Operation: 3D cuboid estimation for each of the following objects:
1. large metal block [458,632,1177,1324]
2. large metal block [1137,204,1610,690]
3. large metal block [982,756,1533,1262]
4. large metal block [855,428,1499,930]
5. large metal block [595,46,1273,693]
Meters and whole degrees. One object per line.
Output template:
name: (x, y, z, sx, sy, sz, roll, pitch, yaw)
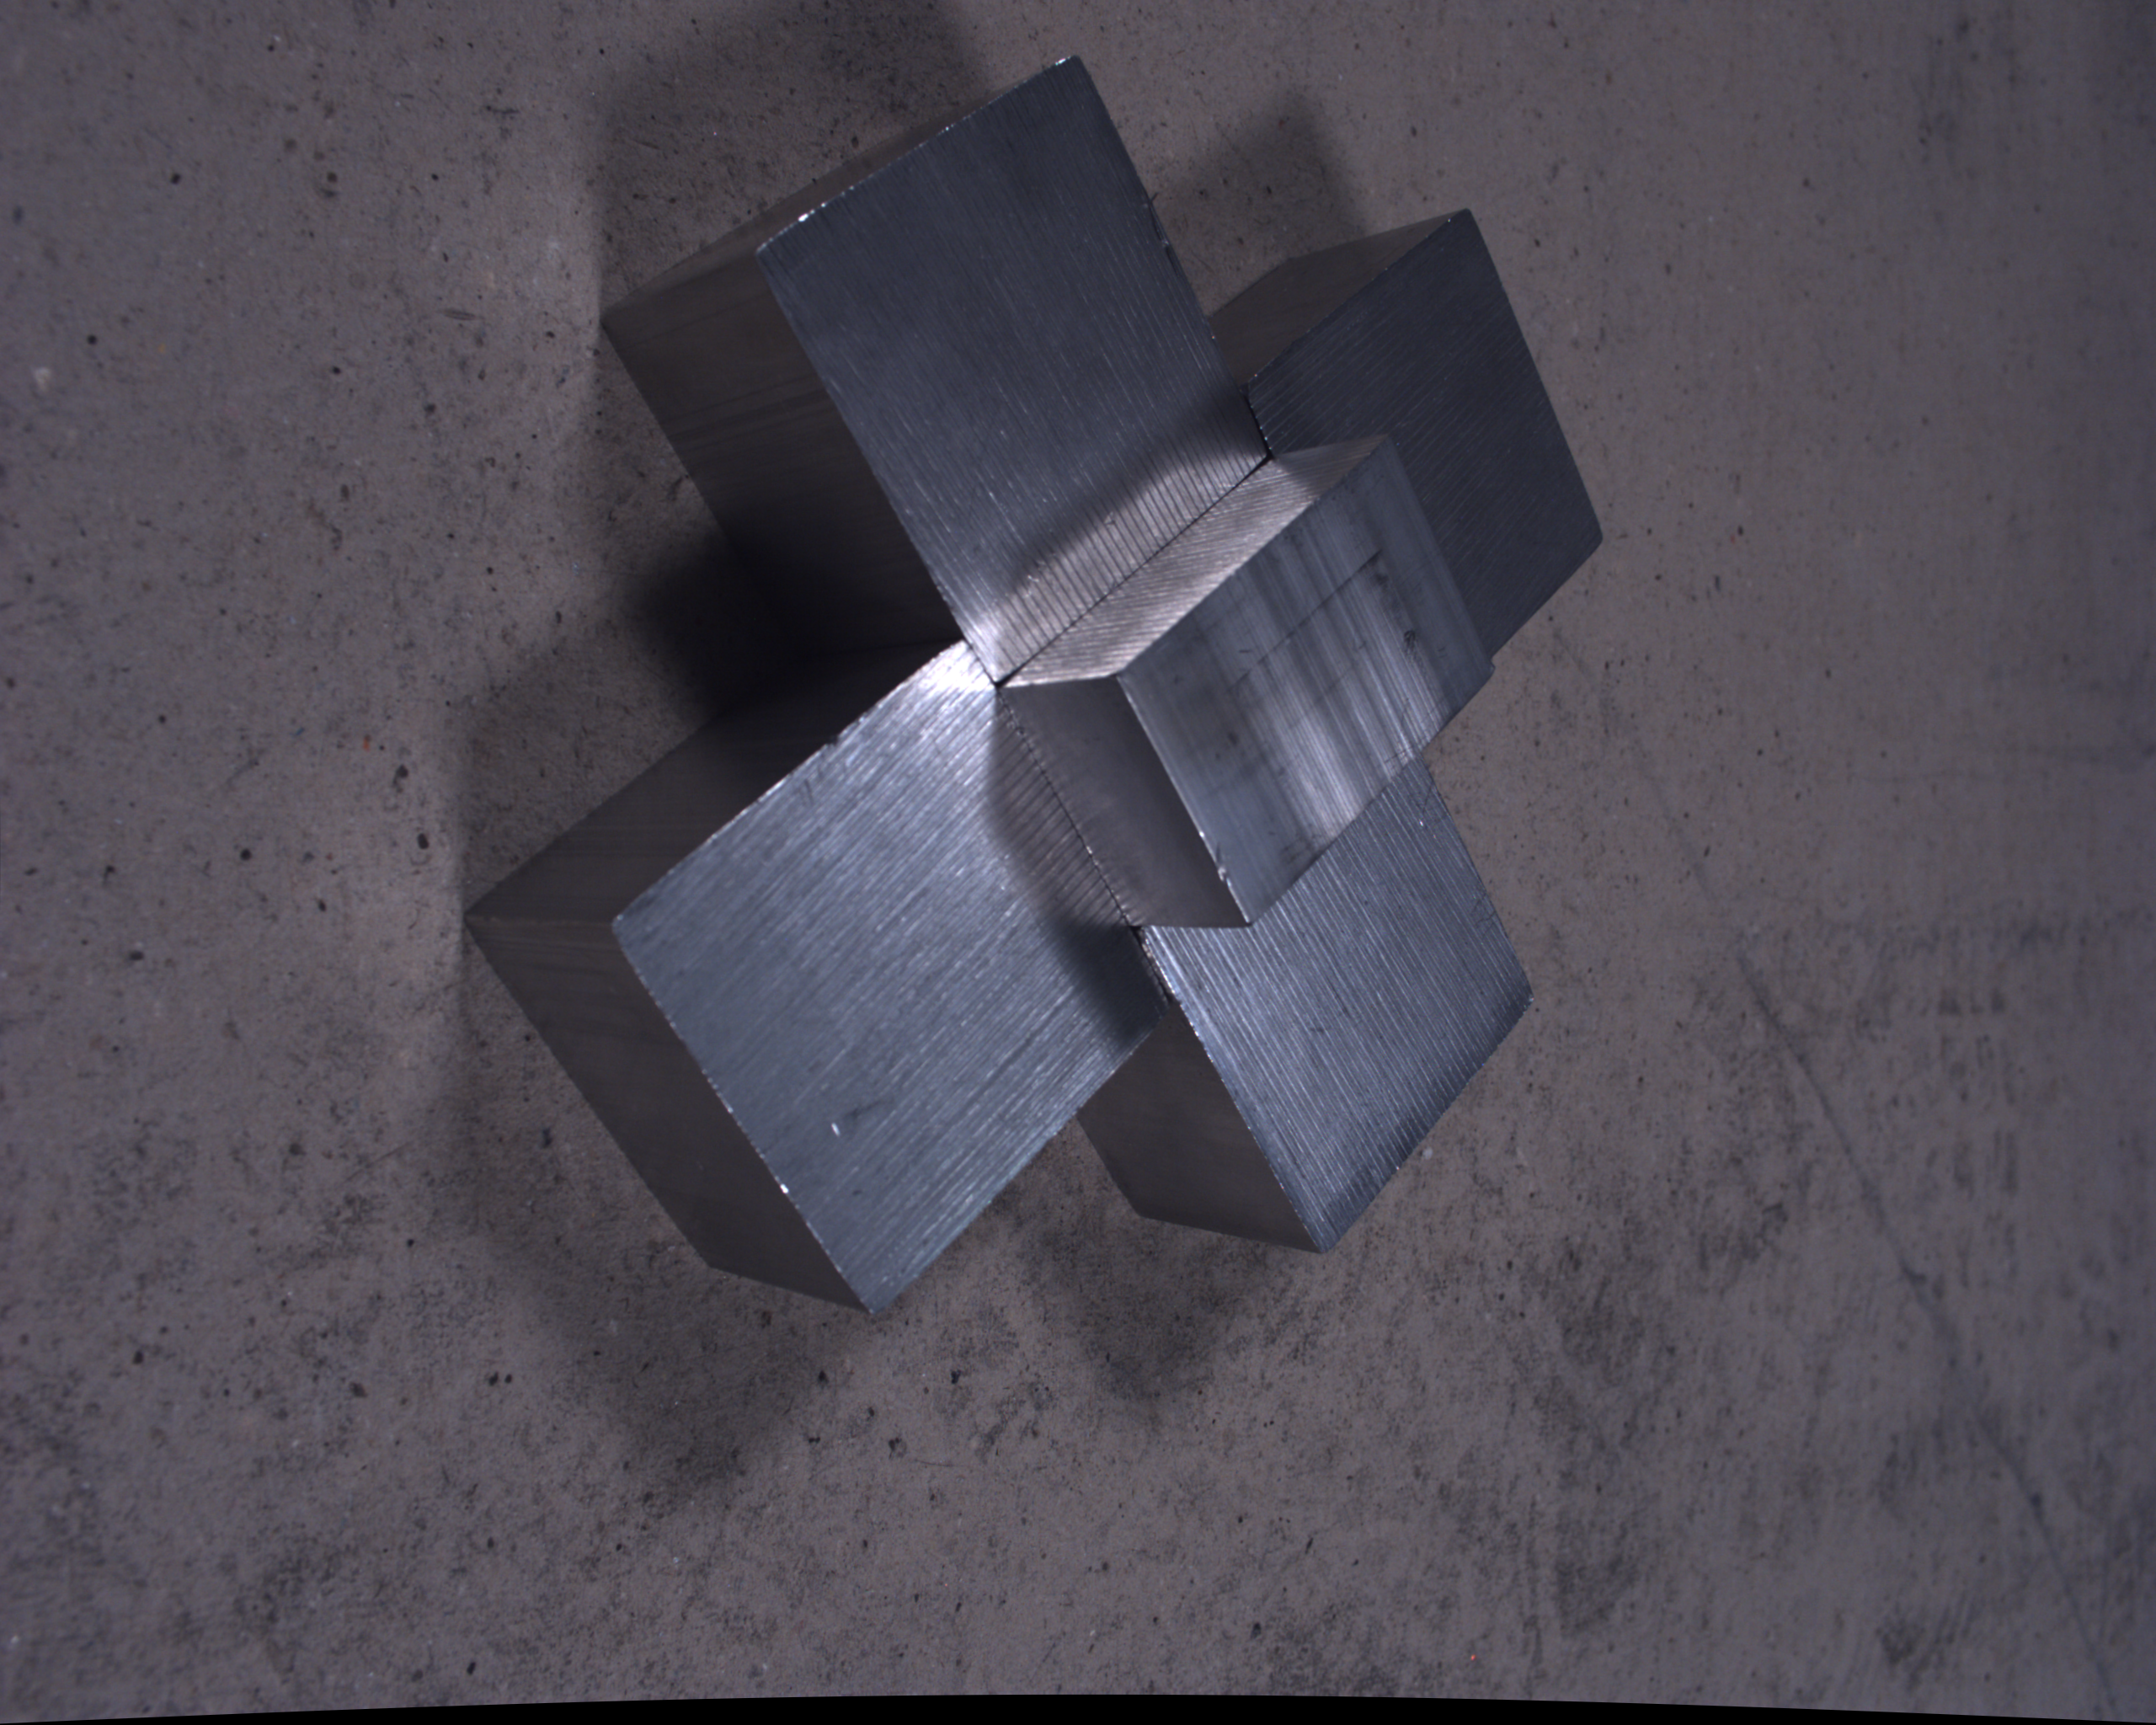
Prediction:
large metal block: (-0.041, 0.018, 0.356, 0.080, 0.050, 0.080, -44, 117, -31)
large metal block: (0.057, -0.079, 0.439, 0.080, 0.050, 0.080, -44, 117, -31)
large metal block: (0.037, 0.020, 0.422, 0.080, 0.050, 0.080, -44, 117, -31)
large metal block: (0.016, -0.033, 0.385, 0.080, 0.080, 0.050, -44, 117, -31)
large metal block: (-0.023, -0.085, 0.371, 0.080, 0.050, 0.080, -44, 117, -31)
